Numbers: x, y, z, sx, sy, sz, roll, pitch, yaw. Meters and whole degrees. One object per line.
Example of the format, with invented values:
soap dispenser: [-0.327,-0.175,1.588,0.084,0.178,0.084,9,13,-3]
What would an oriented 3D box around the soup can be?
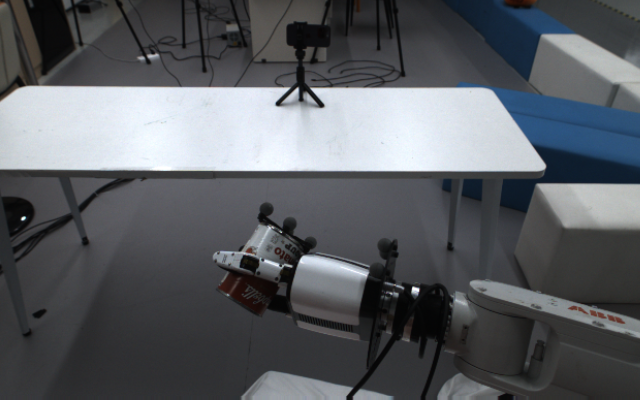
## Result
soup can: [-0.074,0.088,0.609,0.067,0.067,0.101,24,73,29]
